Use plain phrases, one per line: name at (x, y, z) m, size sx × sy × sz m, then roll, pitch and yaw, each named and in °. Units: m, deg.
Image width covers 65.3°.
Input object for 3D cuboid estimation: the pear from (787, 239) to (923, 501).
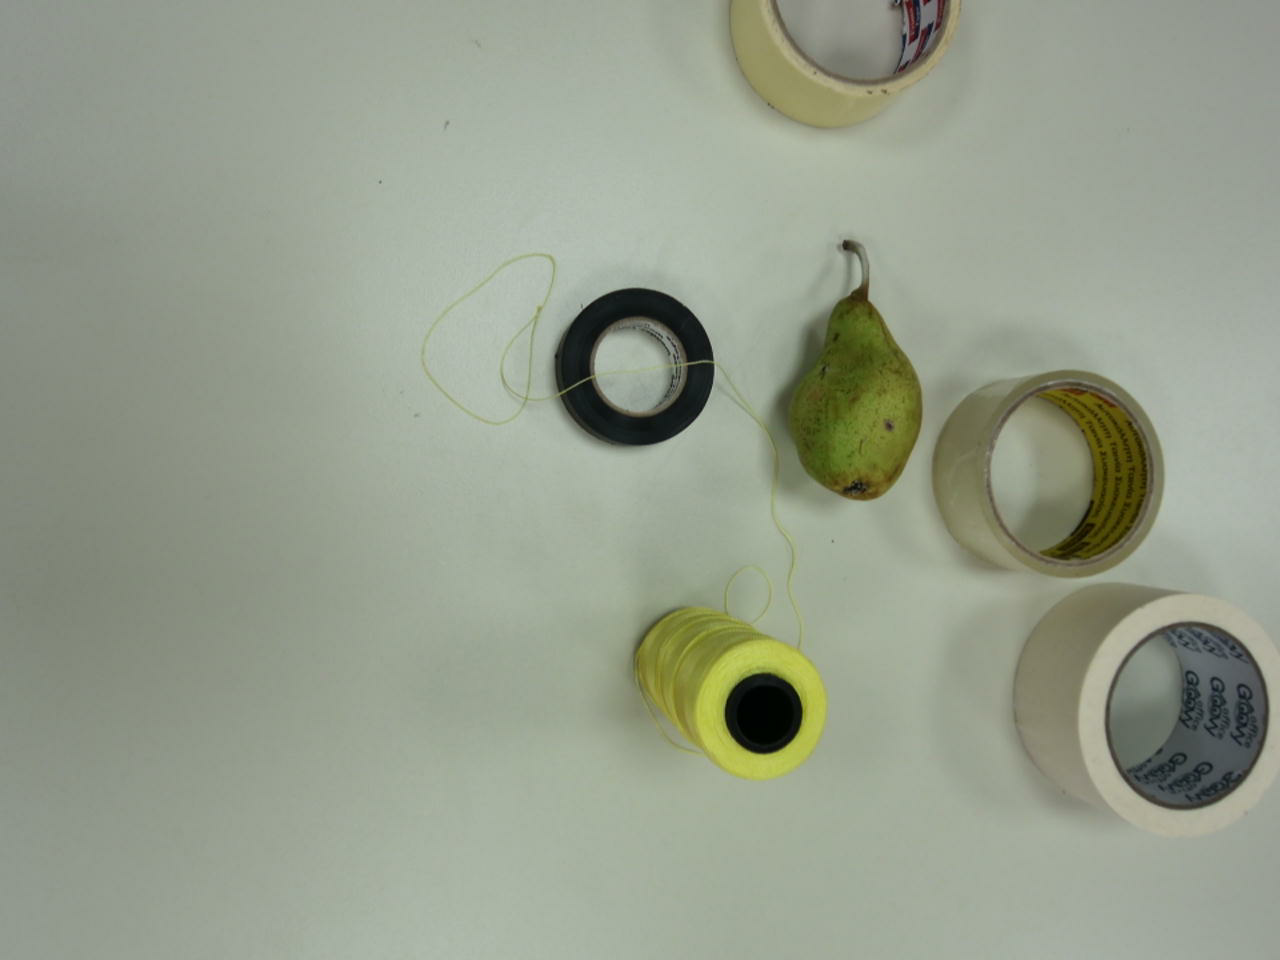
pear at (0.100, -0.046, 0.425) m, size 0.056 × 0.056 × 0.111 m, roll 25°, pitch 85°, yaw -10°
